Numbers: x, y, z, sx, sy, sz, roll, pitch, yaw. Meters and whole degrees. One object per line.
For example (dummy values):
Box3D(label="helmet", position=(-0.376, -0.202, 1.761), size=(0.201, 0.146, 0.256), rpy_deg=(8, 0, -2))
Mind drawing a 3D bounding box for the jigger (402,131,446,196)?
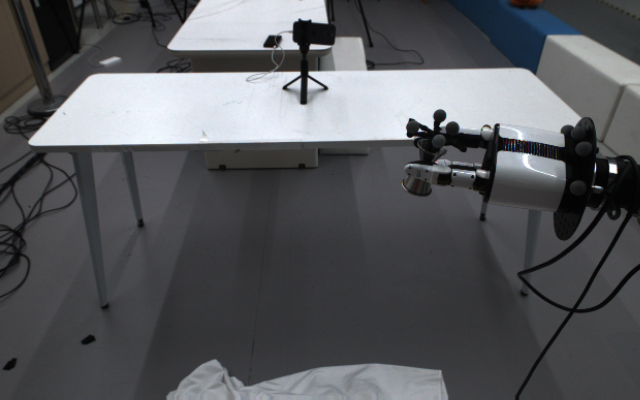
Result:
Box3D(label="jigger", position=(0.141, -0.045, 0.665), size=(0.043, 0.071, 0.043), rpy_deg=(10, 35, -7))
